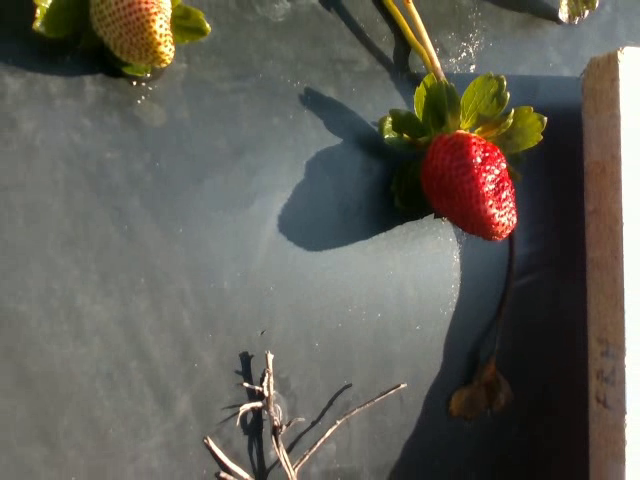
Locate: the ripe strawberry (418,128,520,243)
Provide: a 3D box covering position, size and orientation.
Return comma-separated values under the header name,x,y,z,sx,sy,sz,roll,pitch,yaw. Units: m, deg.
name,x,y,z,sx,sy,sz,roll,pitch,yaw
ripe strawberry,0.020,-0.008,0.078,0.015,0.015,0.023,6,39,-22
